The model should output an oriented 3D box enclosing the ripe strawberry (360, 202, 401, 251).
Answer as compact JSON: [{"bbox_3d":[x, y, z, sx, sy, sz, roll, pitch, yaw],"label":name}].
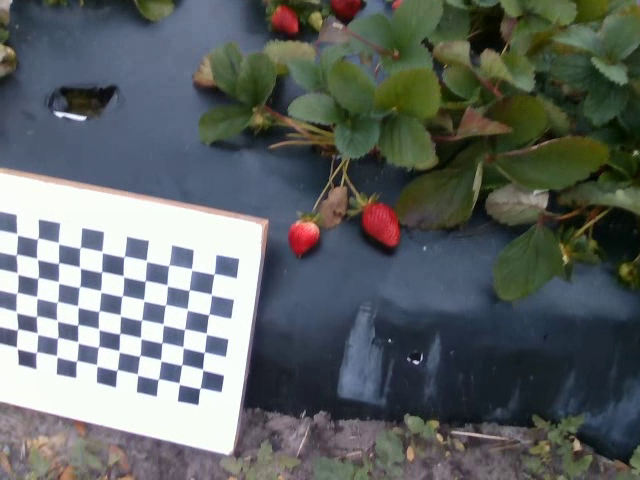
[{"bbox_3d":[0.063,-0.019,1.065,0.044,0.059,0.041,-32,-9,33],"label":"ripe strawberry"}]

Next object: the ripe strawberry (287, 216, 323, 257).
[{"bbox_3d":[-0.016,-0.006,1.073,0.036,0.041,0.027,16,8,15],"label":"ripe strawberry"}]
